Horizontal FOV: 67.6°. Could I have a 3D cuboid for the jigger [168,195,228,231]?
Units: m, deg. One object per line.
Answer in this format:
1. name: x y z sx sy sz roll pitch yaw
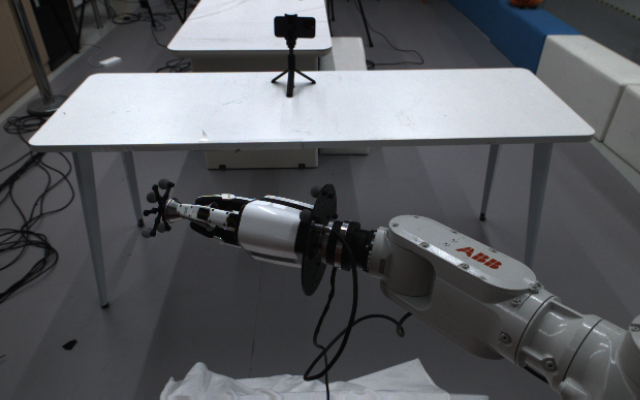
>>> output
1. jigger: -0.186 0.018 0.725 0.071 0.043 0.043 8 35 13
